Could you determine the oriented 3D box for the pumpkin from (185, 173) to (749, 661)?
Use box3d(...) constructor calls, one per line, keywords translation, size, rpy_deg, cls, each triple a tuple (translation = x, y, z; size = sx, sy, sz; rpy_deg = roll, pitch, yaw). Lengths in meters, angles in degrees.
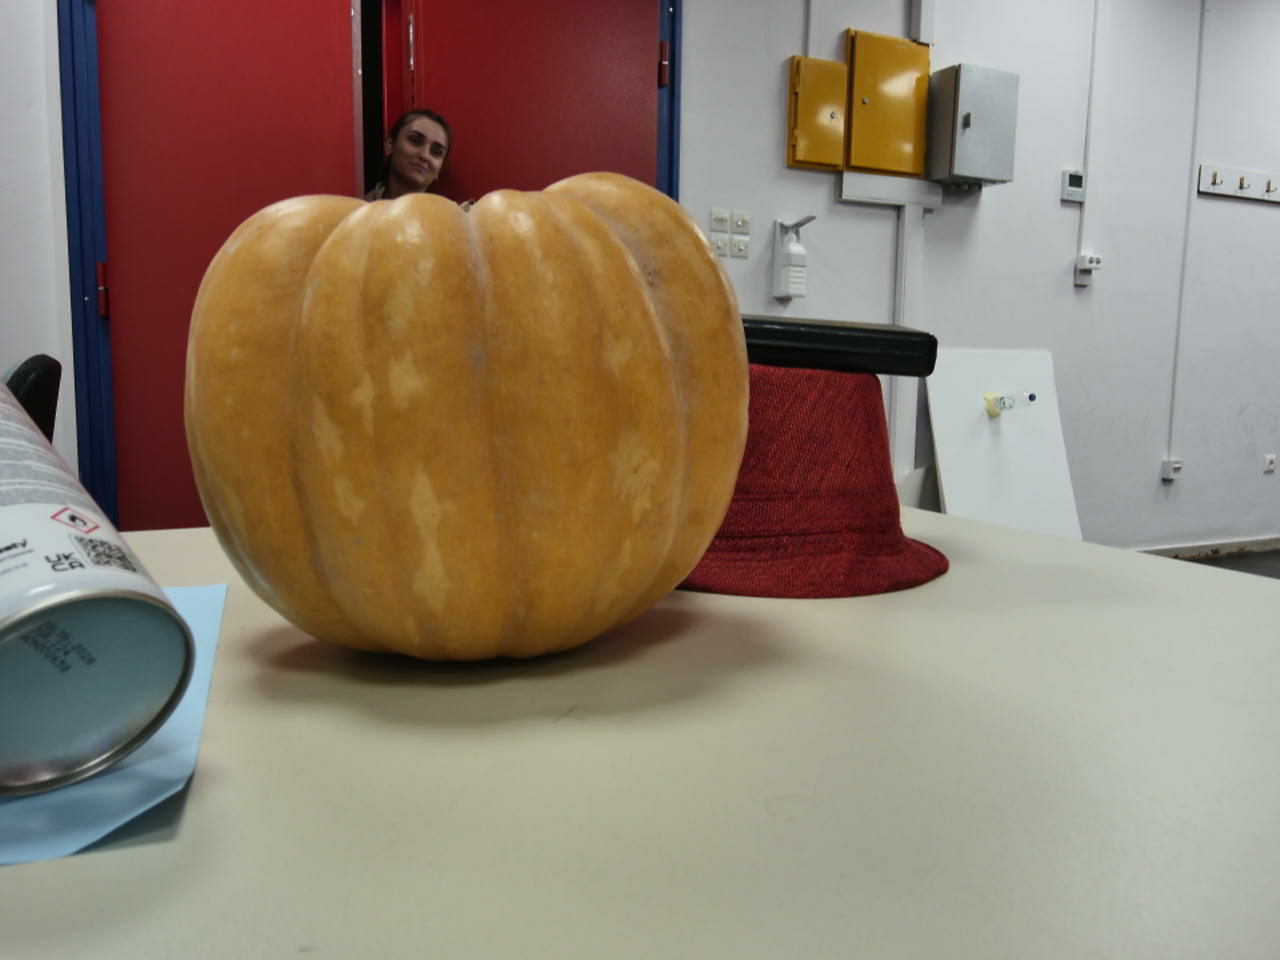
box3d(translation=(-0.065, -0.026, 0.417), size=(0.230, 0.194, 0.230), rpy_deg=(0, 4, 0), cls="pumpkin")
